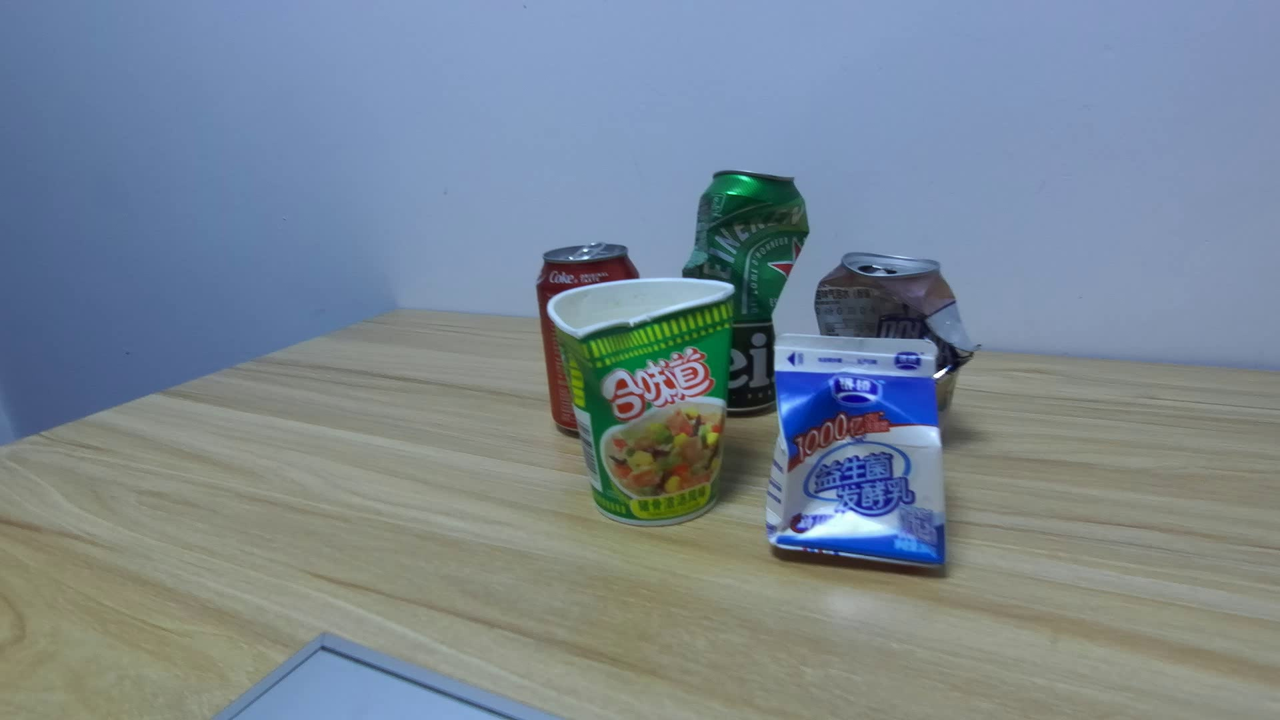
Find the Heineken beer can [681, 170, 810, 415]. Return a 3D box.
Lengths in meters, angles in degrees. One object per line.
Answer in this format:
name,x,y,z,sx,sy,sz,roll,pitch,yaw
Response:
Heineken beer can,0.068,-0.043,0.470,0.067,0.159,0.079,8,14,26

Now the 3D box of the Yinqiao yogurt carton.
Yinqiao yogurt carton,0.099,0.035,0.331,0.077,0.094,0.071,3,14,10

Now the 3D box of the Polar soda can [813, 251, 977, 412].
Polar soda can,0.143,-0.004,0.404,0.074,0.114,0.070,-6,24,1

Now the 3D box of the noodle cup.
noodle cup,0.005,0.019,0.367,0.094,0.109,0.086,-8,19,-11

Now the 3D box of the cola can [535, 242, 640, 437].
cola can,-0.028,-0.011,0.459,0.068,0.120,0.068,-8,8,1
